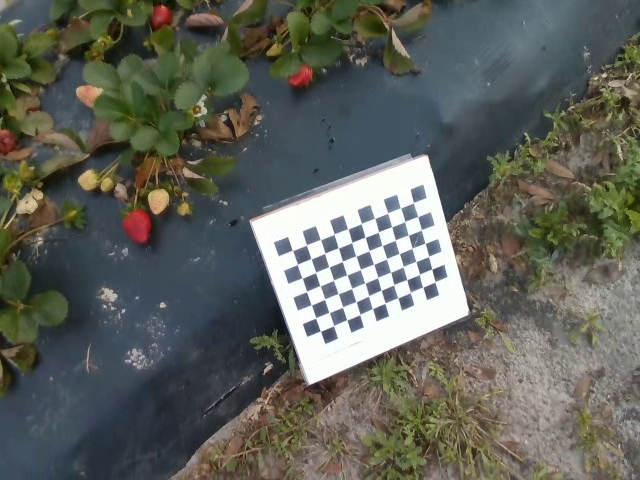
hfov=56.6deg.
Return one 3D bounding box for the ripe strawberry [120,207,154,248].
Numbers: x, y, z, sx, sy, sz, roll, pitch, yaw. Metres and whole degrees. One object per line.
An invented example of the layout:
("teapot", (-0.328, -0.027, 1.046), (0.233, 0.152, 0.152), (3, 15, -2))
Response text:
("ripe strawberry", (-0.260, -0.018, 0.844), (0.050, 0.059, 0.034), (-32, -32, -6))
